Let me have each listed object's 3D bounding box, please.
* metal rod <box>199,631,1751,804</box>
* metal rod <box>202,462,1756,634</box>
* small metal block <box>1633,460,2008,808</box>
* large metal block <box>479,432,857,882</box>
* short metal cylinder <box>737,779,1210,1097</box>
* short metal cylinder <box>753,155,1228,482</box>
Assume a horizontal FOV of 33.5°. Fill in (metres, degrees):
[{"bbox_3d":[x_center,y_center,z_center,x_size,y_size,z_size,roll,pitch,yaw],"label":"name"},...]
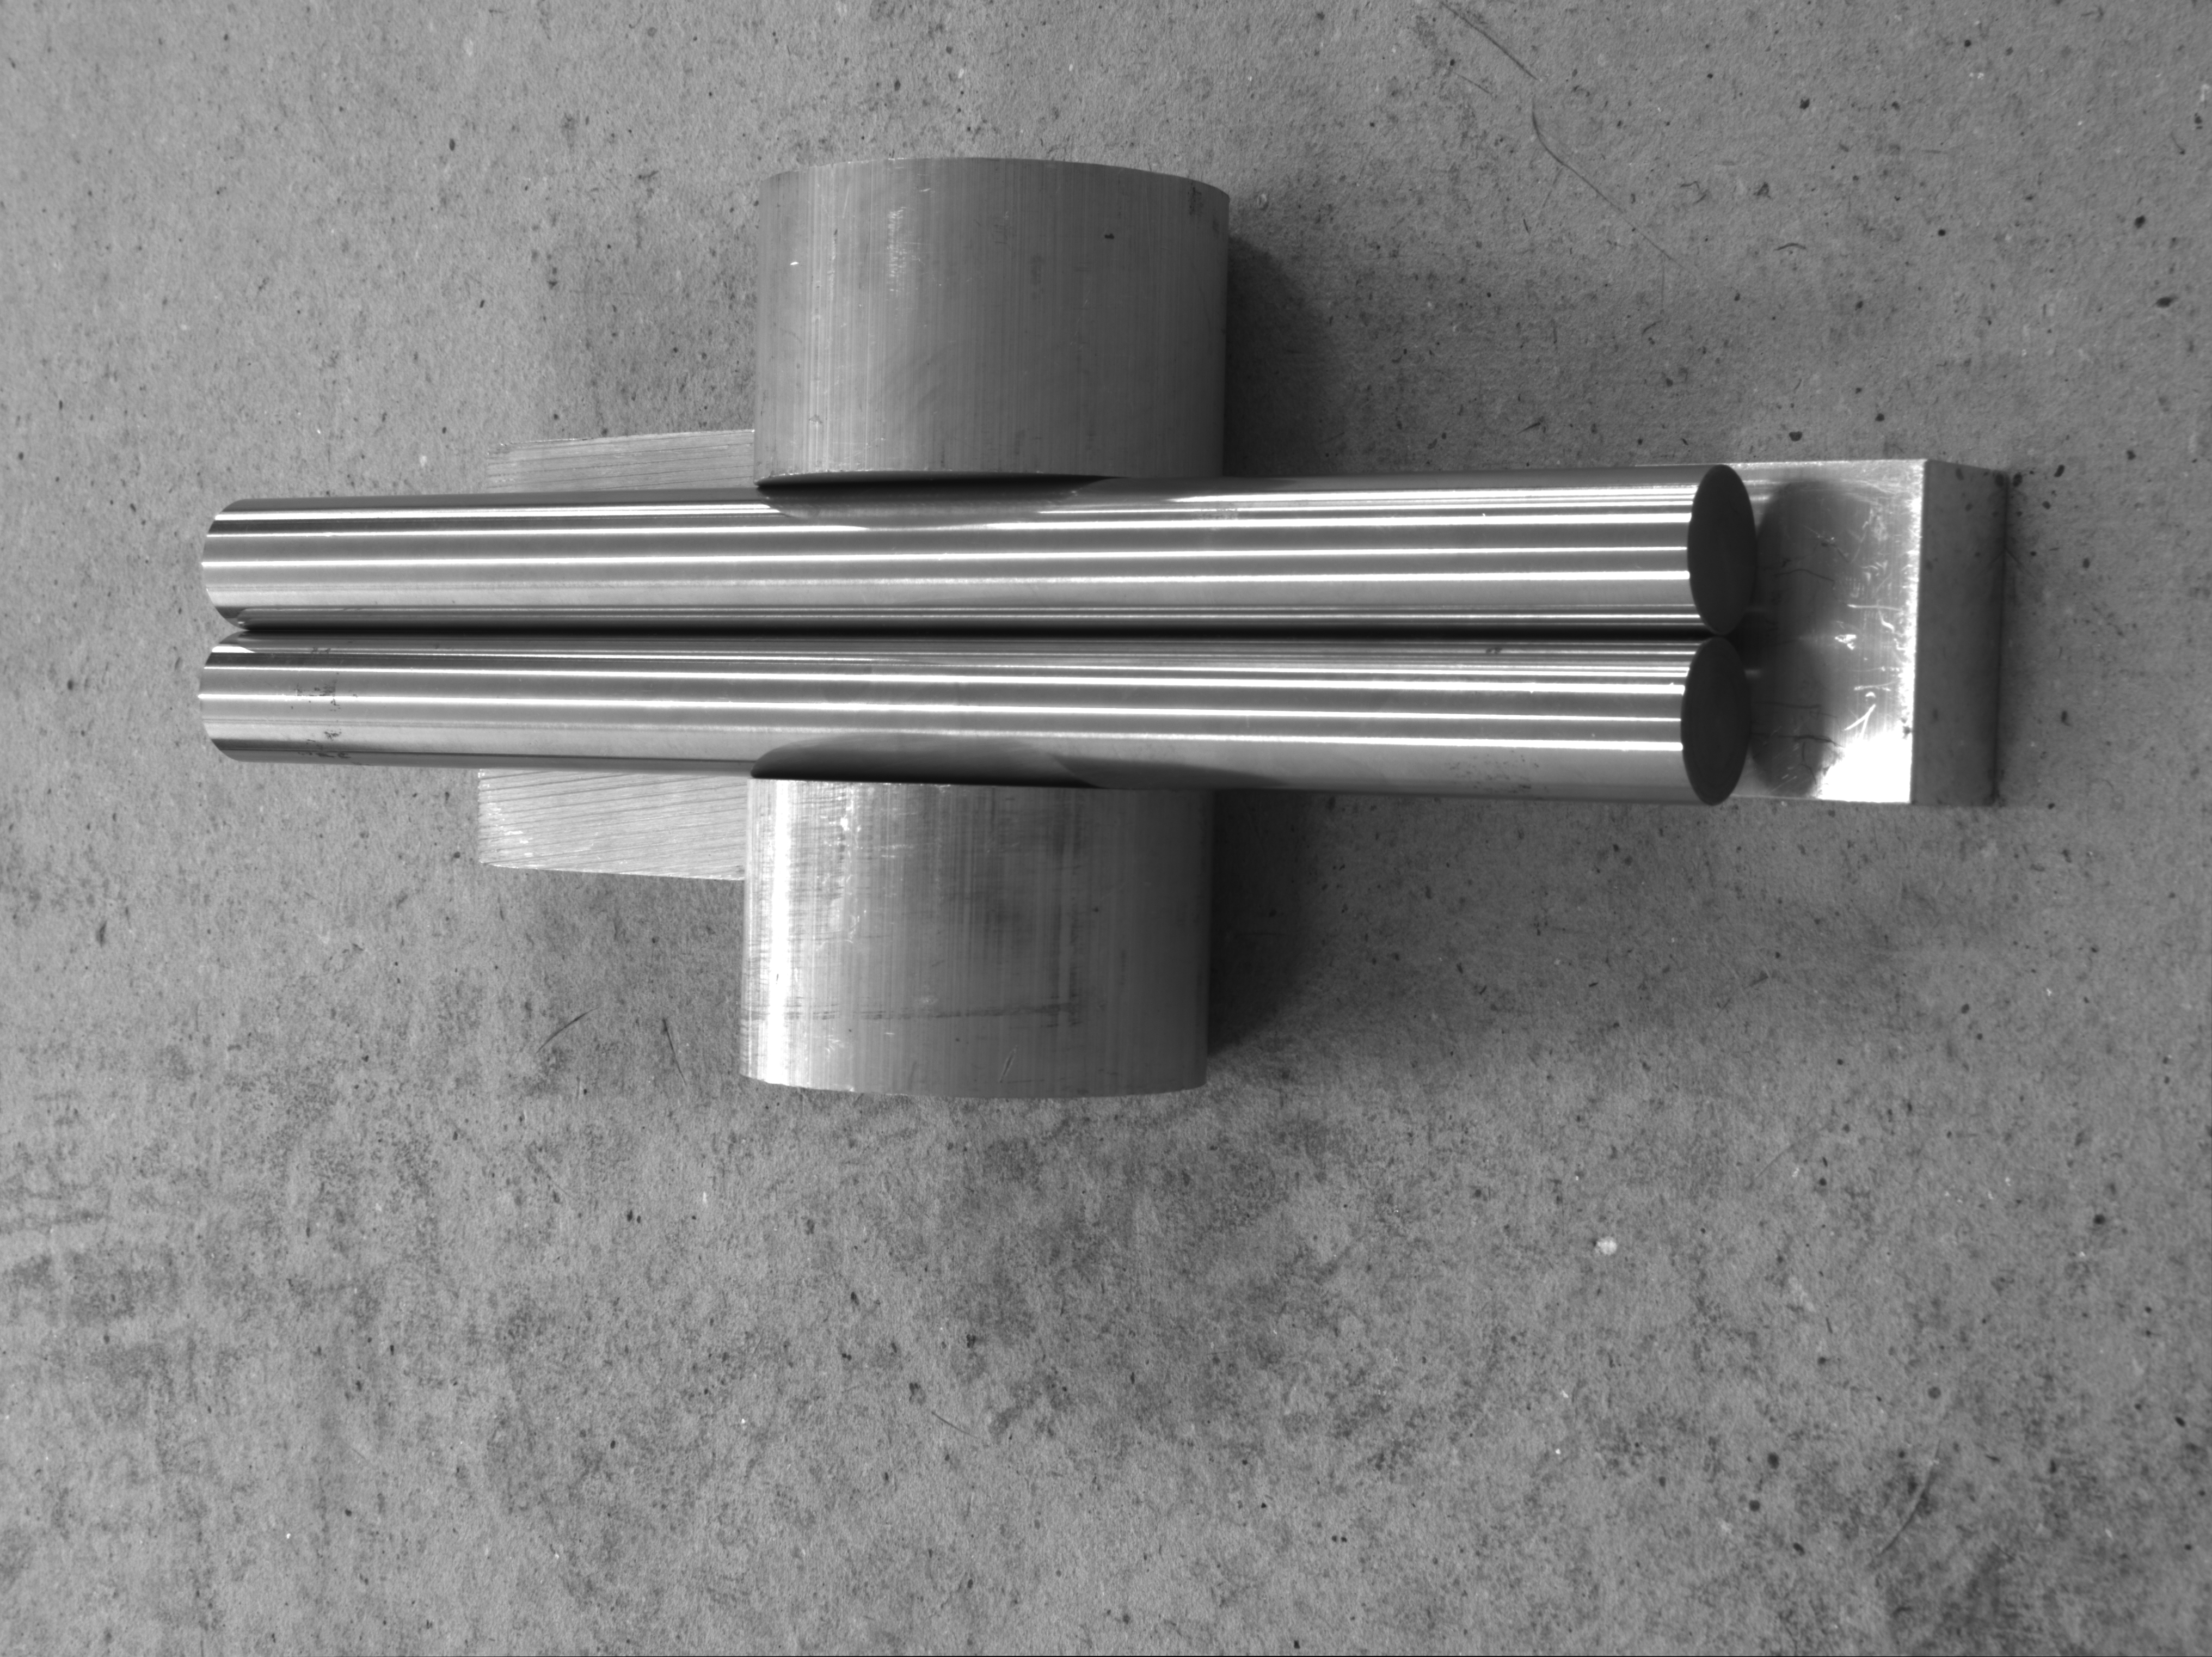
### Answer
[{"bbox_3d":[-0.037,-0.021,0.618,0.299,0.025,0.025,2,91,32],"label":"metal rod"},{"bbox_3d":[-0.036,-0.046,0.618,0.299,0.025,0.025,2,91,32],"label":"metal rod"},{"bbox_3d":[0.107,-0.029,0.556,0.050,0.025,0.050,4,92,41],"label":"small metal block"},{"bbox_3d":[-0.071,-0.031,0.690,0.080,0.050,0.080,2,91,40],"label":"large metal block"},{"bbox_3d":[-0.023,0.017,0.629,0.080,0.080,0.050,2,91,40],"label":"short metal cylinder"},{"bbox_3d":[-0.020,-0.083,0.626,0.080,0.080,0.050,2,91,40],"label":"short metal cylinder"}]
